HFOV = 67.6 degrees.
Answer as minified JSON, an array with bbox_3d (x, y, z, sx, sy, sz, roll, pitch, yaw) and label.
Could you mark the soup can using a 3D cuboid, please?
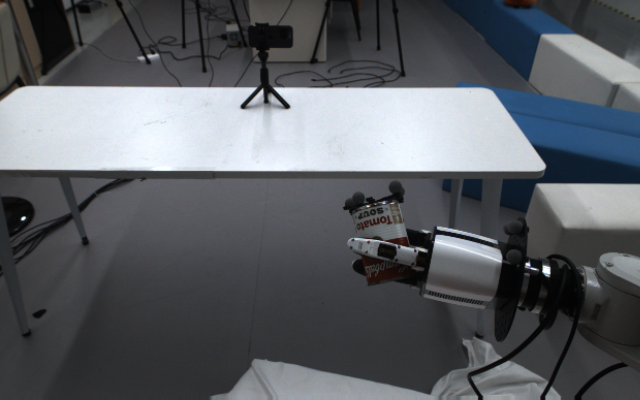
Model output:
[{"bbox_3d":[0.086,0.057,0.646,0.067,0.067,0.101,-10,80,-16],"label":"soup can"}]
